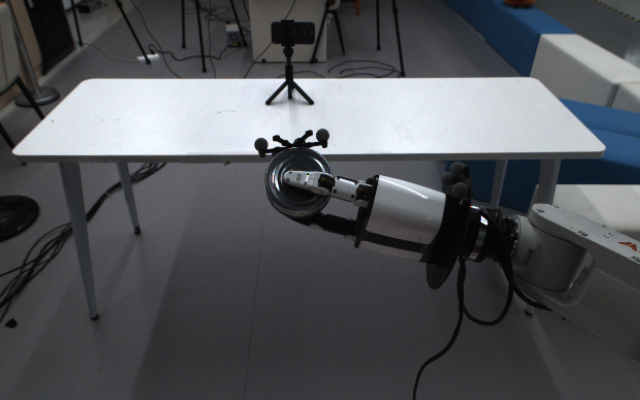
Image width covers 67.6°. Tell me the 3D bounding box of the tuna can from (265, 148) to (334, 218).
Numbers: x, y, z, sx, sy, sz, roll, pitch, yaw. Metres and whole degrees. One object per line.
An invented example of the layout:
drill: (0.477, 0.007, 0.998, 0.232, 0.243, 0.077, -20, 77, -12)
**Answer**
tuna can: (-0.022, -0.017, 0.602, 0.085, 0.034, 0.085, 0, 72, -1)
